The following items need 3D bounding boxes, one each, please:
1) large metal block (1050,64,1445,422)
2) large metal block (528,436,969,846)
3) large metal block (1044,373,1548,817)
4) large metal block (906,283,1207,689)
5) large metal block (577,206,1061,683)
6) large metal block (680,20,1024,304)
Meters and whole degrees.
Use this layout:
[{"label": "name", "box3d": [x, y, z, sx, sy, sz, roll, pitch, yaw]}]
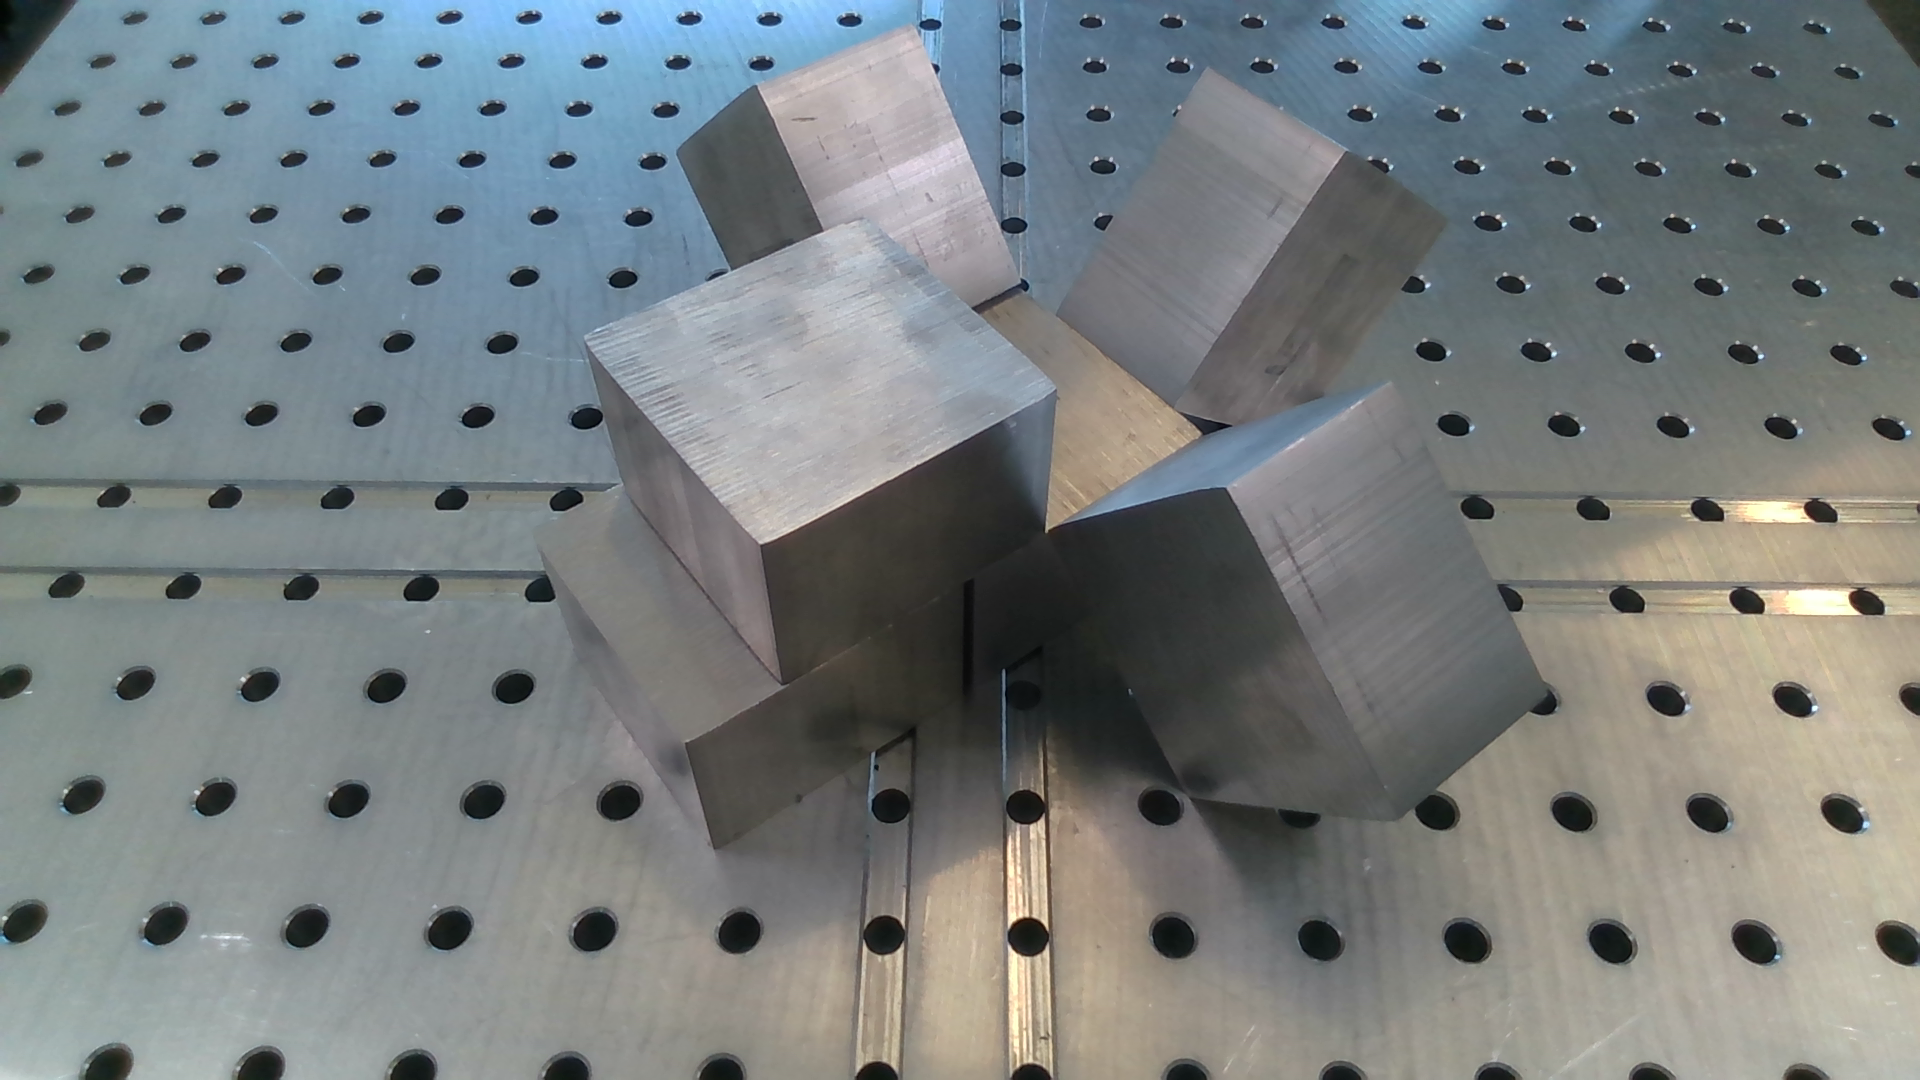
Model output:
[{"label": "large metal block", "box3d": [0.086, -0.081, 0.409, 0.080, 0.080, 0.050, 4, 34, -52]}, {"label": "large metal block", "box3d": [-0.054, 0.019, 0.364, 0.080, 0.050, 0.080, -29, 57, -24]}, {"label": "large metal block", "box3d": [0.076, 0.015, 0.328, 0.050, 0.080, 0.080, -31, 97, -24]}, {"label": "large metal block", "box3d": [0.011, -0.018, 0.396, 0.080, 0.050, 0.080, -31, 57, -23]}, {"label": "large metal block", "box3d": [-0.033, -0.026, 0.335, 0.080, 0.050, 0.080, -31, 57, -22]}, {"label": "large metal block", "box3d": [-0.035, -0.102, 0.426, 0.050, 0.080, 0.080, -31, 15, -24]}]
